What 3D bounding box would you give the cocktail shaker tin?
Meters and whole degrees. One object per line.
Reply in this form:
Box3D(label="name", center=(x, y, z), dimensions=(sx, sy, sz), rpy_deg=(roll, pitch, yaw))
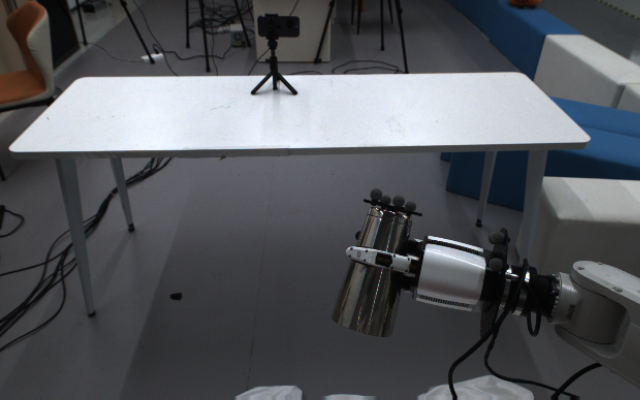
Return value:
Box3D(label="cocktail shaker tin", center=(0.084, 0.101, 0.706), dimensions=(0.093, 0.170, 0.093), rpy_deg=(15, -2, 0))
